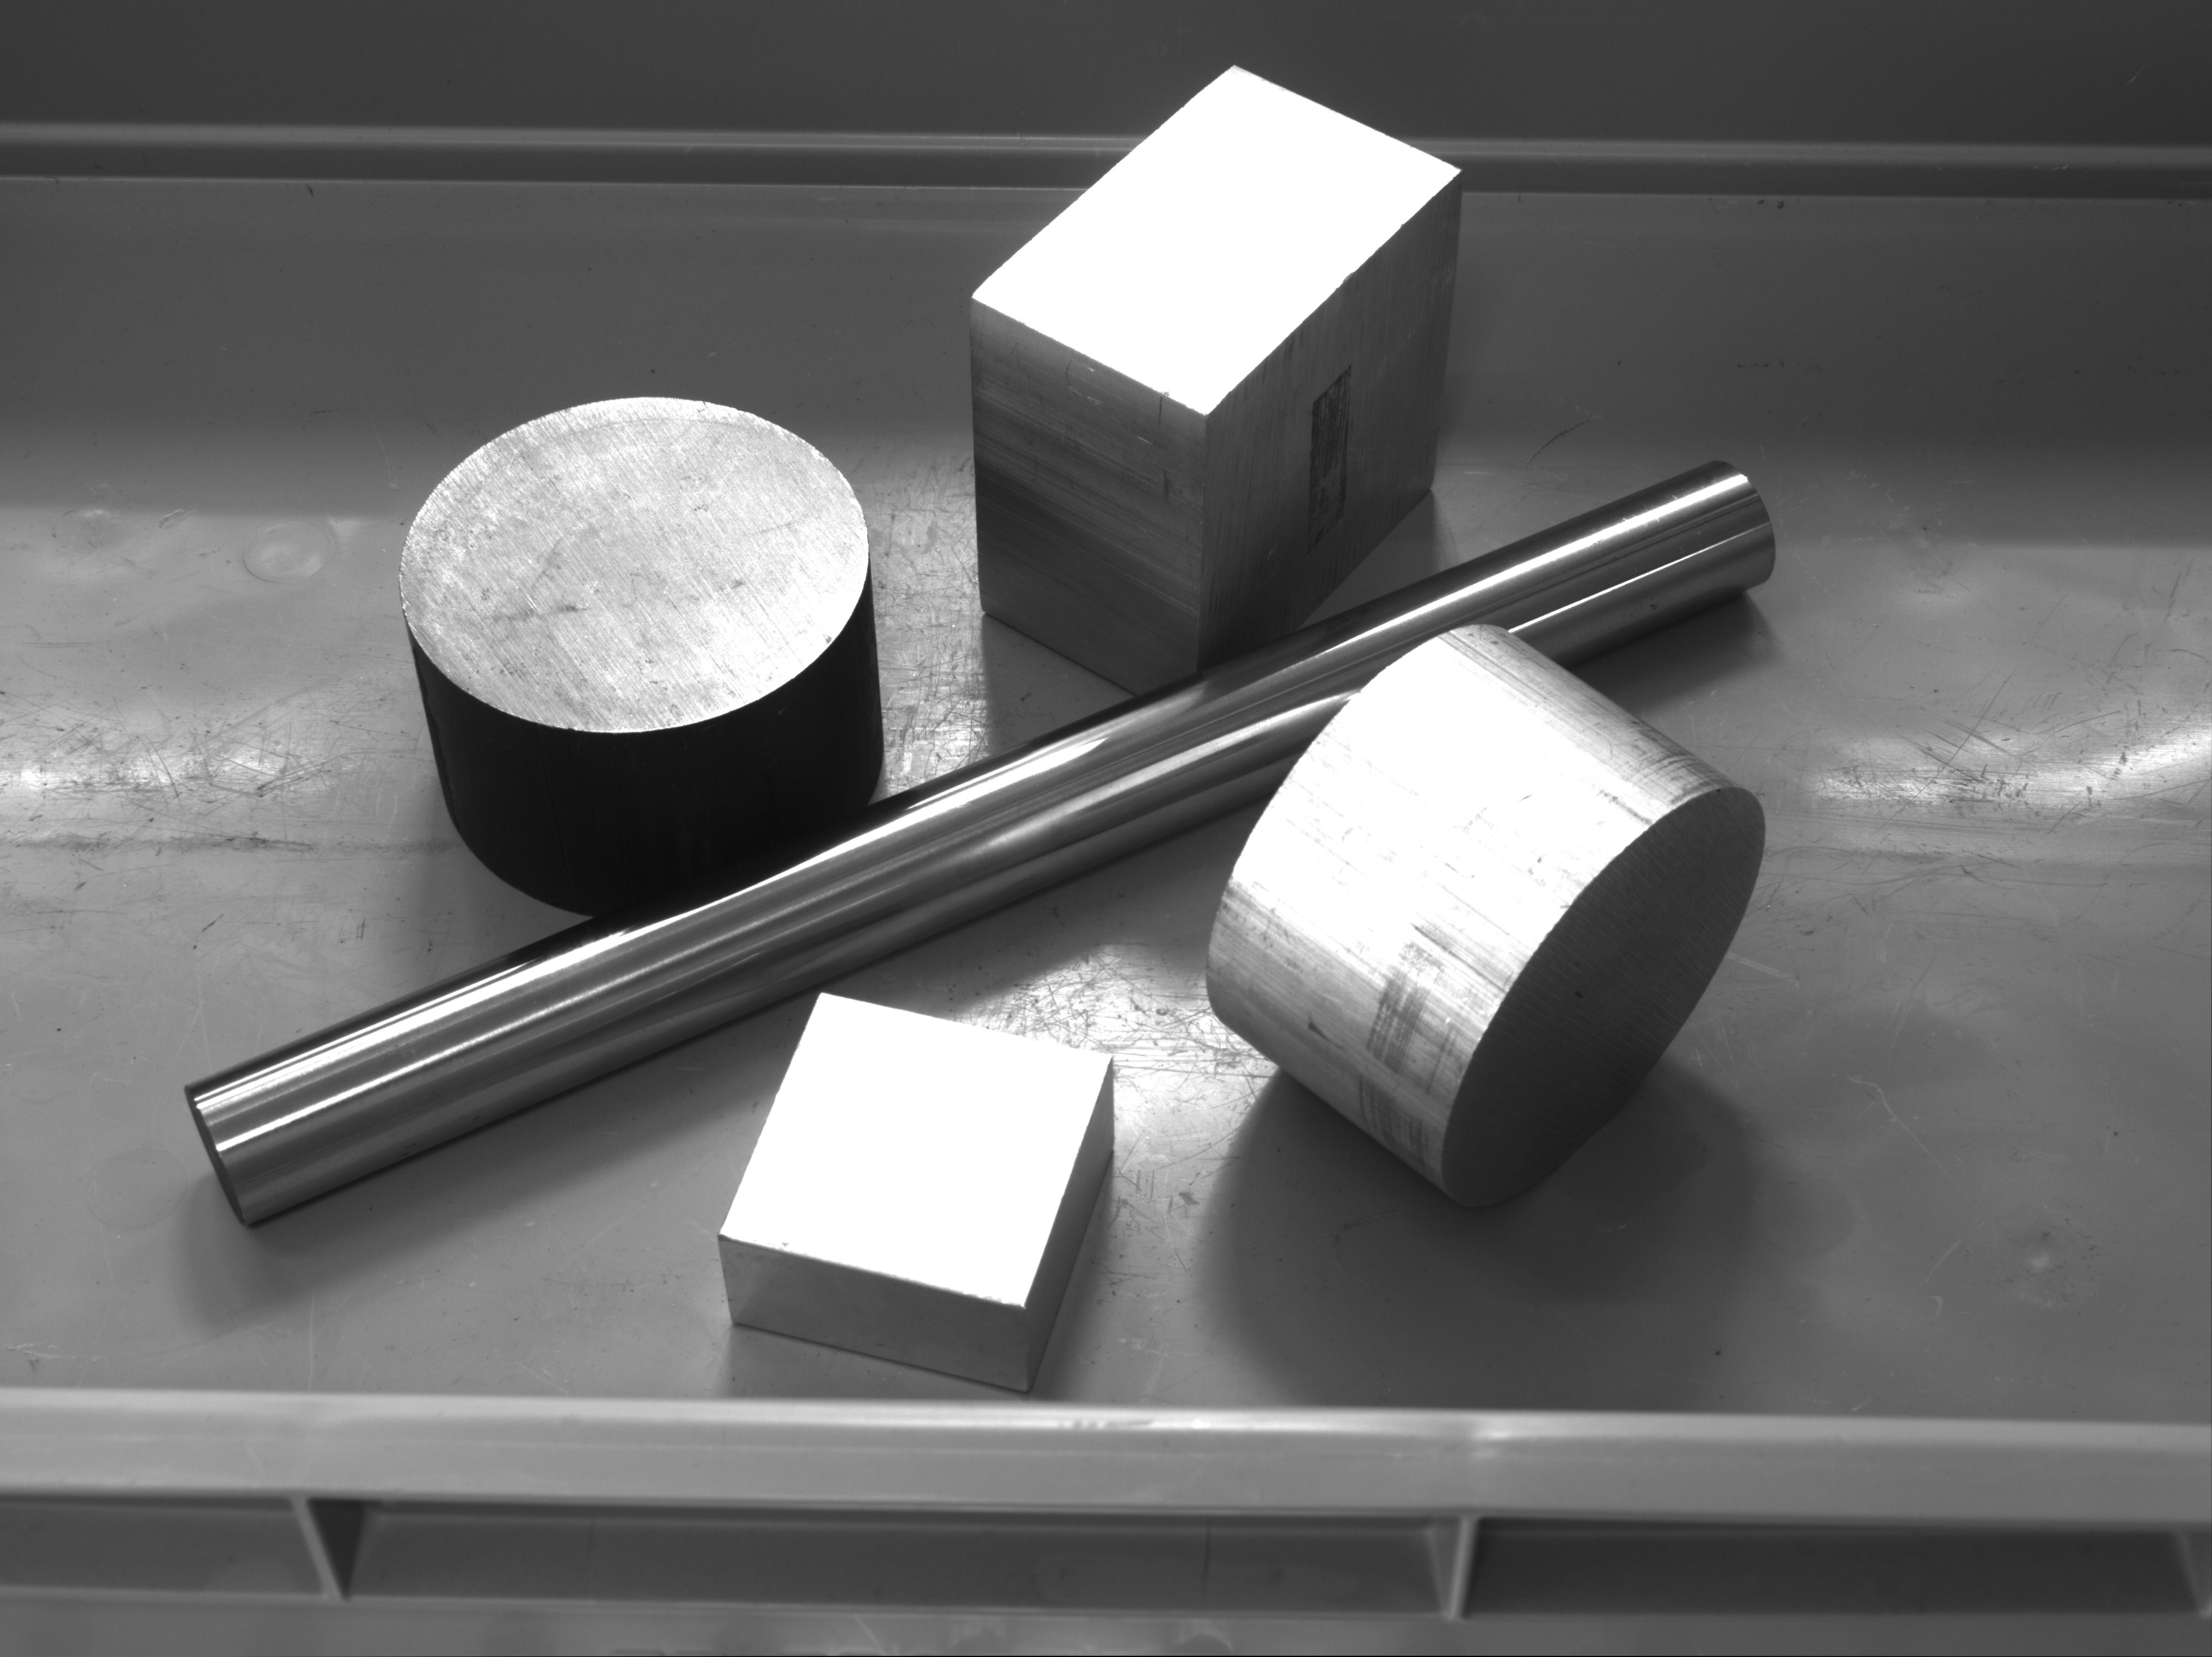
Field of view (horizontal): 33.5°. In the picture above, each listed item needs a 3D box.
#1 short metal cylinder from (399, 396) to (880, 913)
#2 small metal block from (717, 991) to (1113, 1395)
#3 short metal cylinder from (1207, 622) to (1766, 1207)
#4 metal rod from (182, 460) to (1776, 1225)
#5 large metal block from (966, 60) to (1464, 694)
[{"bbox_3d":[-0.081,-0.031,0.650,0.080,0.050,0.080,0,50,0],"label":"short metal cylinder"},{"bbox_3d":[-0.030,0.058,0.592,0.050,0.025,0.050,12,51,10],"label":"small metal block"},{"bbox_3d":[0.062,0.014,0.594,0.050,0.080,0.080,36,59,26],"label":"short metal cylinder"},{"bbox_3d":[-0.013,-0.002,0.643,0.300,0.025,0.025,-23,53,-18],"label":"metal rod"},{"bbox_3d":[0.020,-0.079,0.672,0.050,0.080,0.080,29,56,23],"label":"large metal block"}]
